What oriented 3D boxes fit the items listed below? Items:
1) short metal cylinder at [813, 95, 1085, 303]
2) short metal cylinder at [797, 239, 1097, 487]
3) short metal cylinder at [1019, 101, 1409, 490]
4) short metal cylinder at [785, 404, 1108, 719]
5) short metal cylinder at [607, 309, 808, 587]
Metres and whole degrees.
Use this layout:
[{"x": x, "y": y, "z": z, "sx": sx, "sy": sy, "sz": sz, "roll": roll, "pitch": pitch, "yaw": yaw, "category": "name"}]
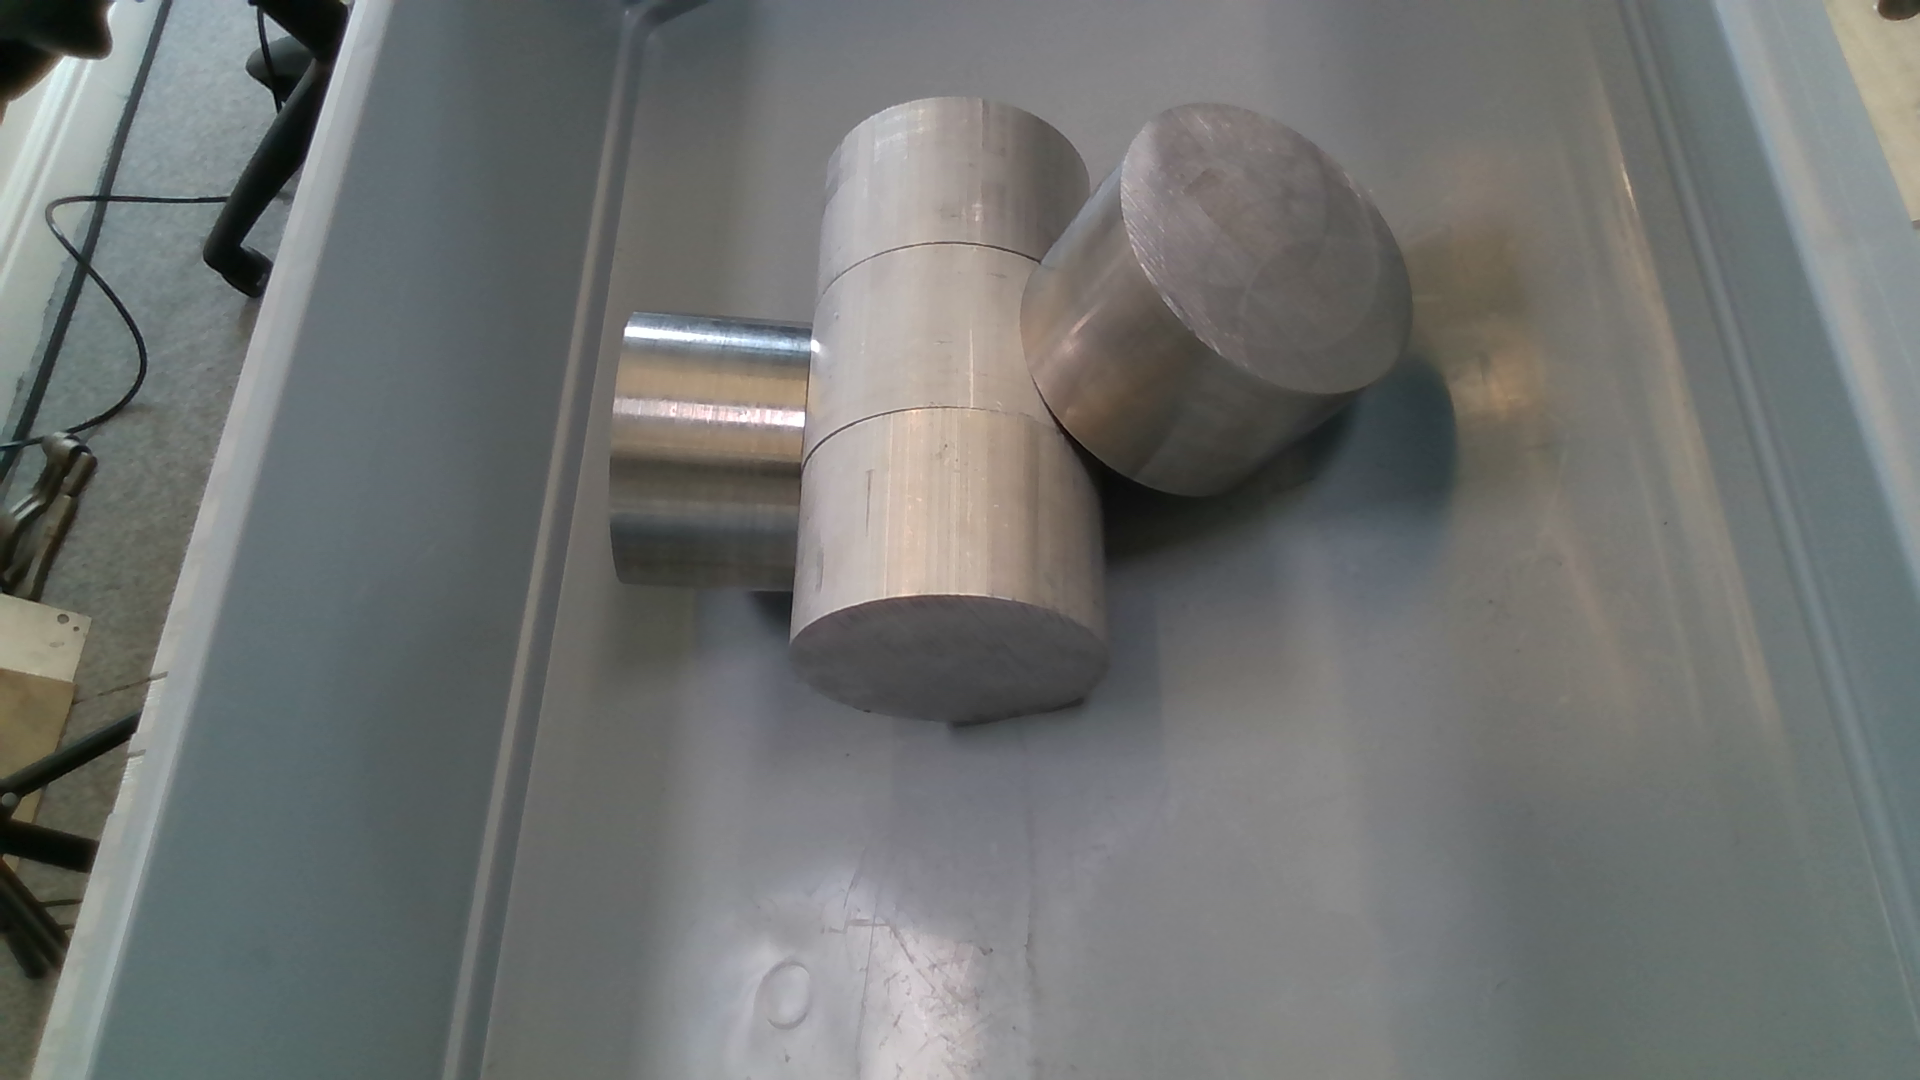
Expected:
[{"x": -0.002, "y": -0.081, "z": 0.400, "sx": 0.080, "sy": 0.080, "sz": 0.050, "roll": -13, "pitch": 59, "yaw": 26, "category": "short metal cylinder"}, {"x": -0.003, "y": -0.036, "z": 0.376, "sx": 0.080, "sy": 0.080, "sz": 0.050, "roll": -13, "pitch": 59, "yaw": 26, "category": "short metal cylinder"}, {"x": 0.062, "y": -0.059, "z": 0.340, "sx": 0.050, "sy": 0.080, "sz": 0.080, "roll": 134, "pitch": 143, "yaw": -55, "category": "short metal cylinder"}, {"x": -0.003, "y": 0.008, "z": 0.354, "sx": 0.080, "sy": 0.080, "sz": 0.050, "roll": -13, "pitch": 59, "yaw": 26, "category": "short metal cylinder"}, {"x": -0.071, "y": -0.027, "z": 0.405, "sx": 0.050, "sy": 0.080, "sz": 0.080, "roll": 3, "pitch": 62, "yaw": -5, "category": "short metal cylinder"}]
